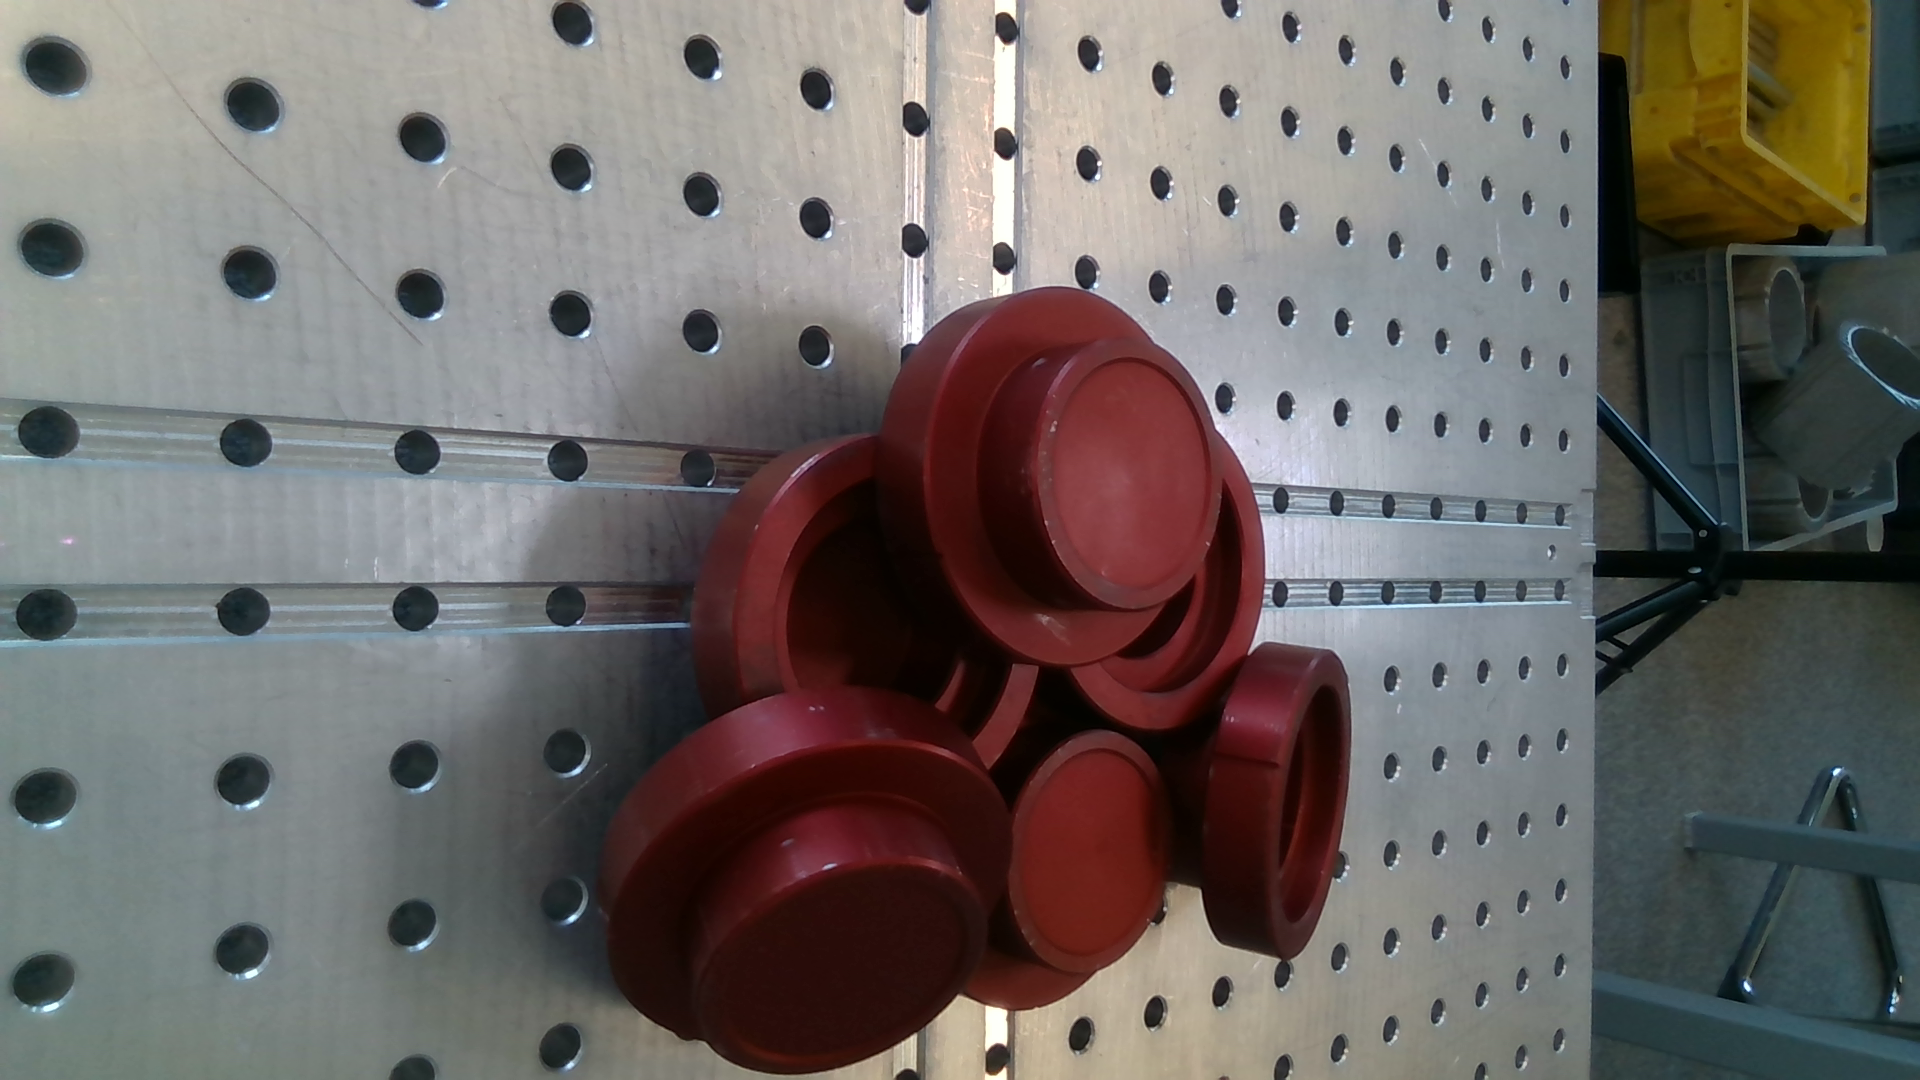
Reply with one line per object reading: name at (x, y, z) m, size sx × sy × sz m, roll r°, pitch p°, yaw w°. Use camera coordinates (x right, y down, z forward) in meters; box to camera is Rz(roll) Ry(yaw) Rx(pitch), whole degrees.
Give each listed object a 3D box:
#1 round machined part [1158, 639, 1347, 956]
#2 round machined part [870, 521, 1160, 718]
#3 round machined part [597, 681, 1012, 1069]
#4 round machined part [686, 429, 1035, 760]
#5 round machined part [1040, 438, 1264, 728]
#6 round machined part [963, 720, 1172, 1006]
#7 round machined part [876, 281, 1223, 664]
round machined part at (0.094, 0.081, 0.447) m, size 0.098 × 0.042 × 0.098 m, roll -21°, pitch 115°, yaw -58°
round machined part at (0.013, 0.000, 0.393) m, size 0.098 × 0.042 × 0.098 m, roll 0°, pitch 90°, yaw -40°
round machined part at (-0.032, 0.085, 0.324) m, size 0.098 × 0.042 × 0.098 m, roll -12°, pitch 126°, yaw -17°
round machined part at (-0.028, 0.021, 0.359) m, size 0.098 × 0.042 × 0.098 m, roll 0°, pitch 90°, yaw -40°
round machined part at (0.046, 0.007, 0.422) m, size 0.098 × 0.042 × 0.098 m, roll 0°, pitch 90°, yaw -40°
round machined part at (0.024, 0.087, 0.403) m, size 0.098 × 0.042 × 0.098 m, roll 0°, pitch 90°, yaw -40°
round machined part at (0.030, -0.017, 0.352) m, size 0.098 × 0.042 × 0.098 m, roll 0°, pitch 90°, yaw -40°
